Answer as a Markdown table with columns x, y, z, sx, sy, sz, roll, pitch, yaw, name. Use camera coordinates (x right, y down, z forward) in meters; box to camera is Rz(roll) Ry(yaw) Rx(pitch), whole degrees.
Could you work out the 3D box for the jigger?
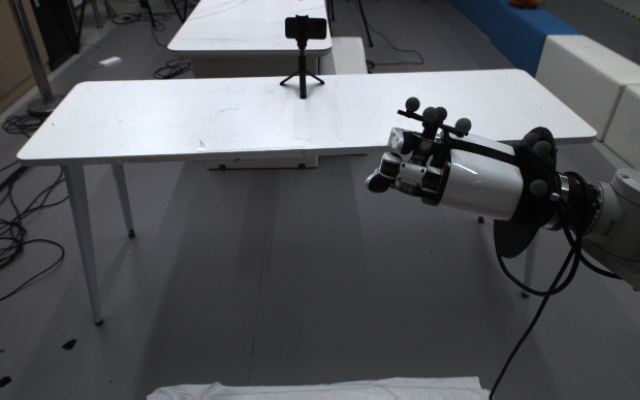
| x | y | z | sx | sy | sz | roll | pitch | yaw | name |
| --- | --- | --- | --- | --- | --- | --- | --- | --- | --- |
| 0.116 | -0.043 | 0.578 | 0.043 | 0.071 | 0.043 | 18 | 17 | -6 | jigger |
